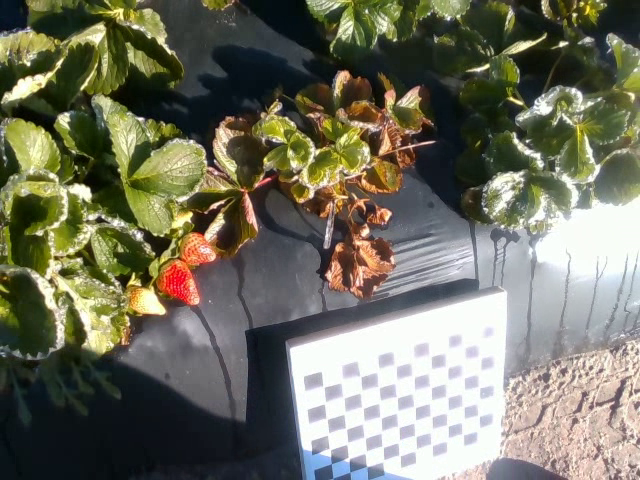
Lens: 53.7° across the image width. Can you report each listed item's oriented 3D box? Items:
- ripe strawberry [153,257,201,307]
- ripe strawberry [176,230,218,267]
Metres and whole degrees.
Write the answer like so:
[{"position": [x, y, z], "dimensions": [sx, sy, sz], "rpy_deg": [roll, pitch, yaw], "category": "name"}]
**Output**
[{"position": [-0.133, 0.046, 0.605], "dimensions": [0.051, 0.037, 0.039], "rpy_deg": [43, 2, 7], "category": "ripe strawberry"}, {"position": [-0.119, 0.010, 0.616], "dimensions": [0.041, 0.036, 0.030], "rpy_deg": [16, 15, -21], "category": "ripe strawberry"}]
